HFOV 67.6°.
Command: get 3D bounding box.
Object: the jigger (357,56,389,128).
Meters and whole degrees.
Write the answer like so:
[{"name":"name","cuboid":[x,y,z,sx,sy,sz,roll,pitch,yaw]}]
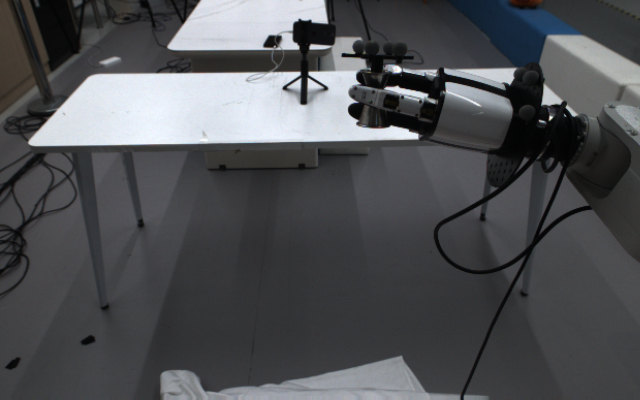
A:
[{"name":"jigger","cuboid":[0.069,-0.130,0.619,0.043,0.071,0.043,1,20,0]}]
